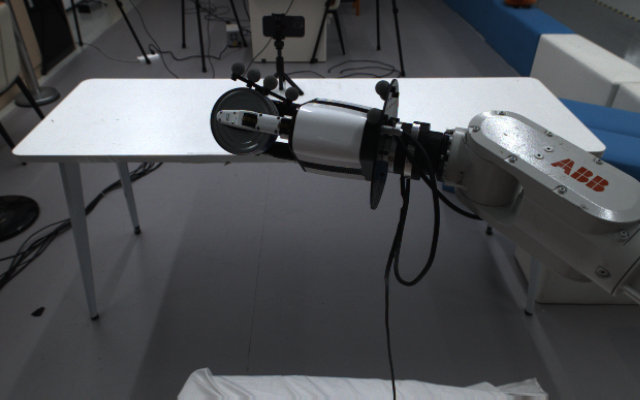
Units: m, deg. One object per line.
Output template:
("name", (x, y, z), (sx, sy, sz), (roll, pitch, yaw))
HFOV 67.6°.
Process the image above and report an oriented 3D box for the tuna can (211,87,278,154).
("tuna can", (-0.095, -0.100, 0.629), (0.085, 0.085, 0.034), (10, 4, 11))
